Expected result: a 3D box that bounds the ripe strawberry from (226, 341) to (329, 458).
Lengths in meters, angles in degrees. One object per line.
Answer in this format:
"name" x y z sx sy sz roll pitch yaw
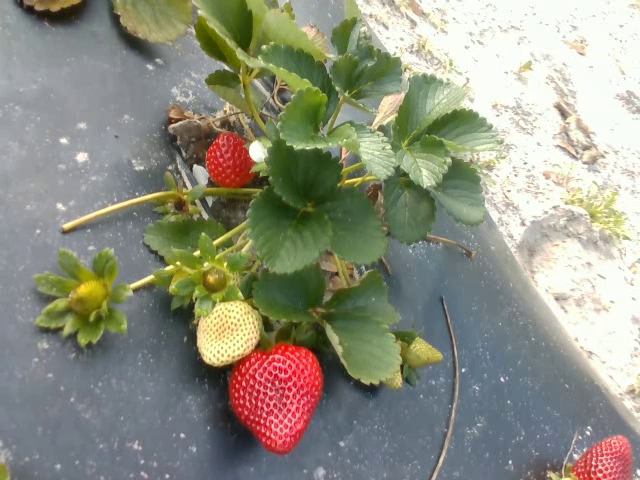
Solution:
"ripe strawberry" -0.023 0.079 0.291 0.051 0.048 0.055 -9 29 6
